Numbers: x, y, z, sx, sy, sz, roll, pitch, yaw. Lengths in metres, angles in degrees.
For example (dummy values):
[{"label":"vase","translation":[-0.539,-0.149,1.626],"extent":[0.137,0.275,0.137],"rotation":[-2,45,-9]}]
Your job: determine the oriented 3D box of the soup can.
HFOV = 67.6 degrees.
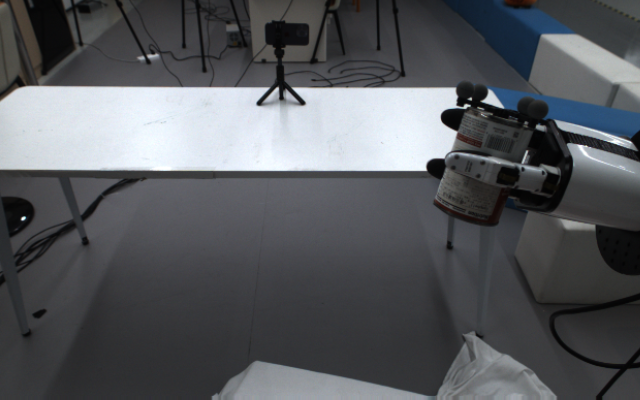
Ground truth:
[{"label":"soup can","translation":[0.162,-0.035,0.482],"extent":[0.067,0.101,0.067],"rotation":[13,18,-4]}]
